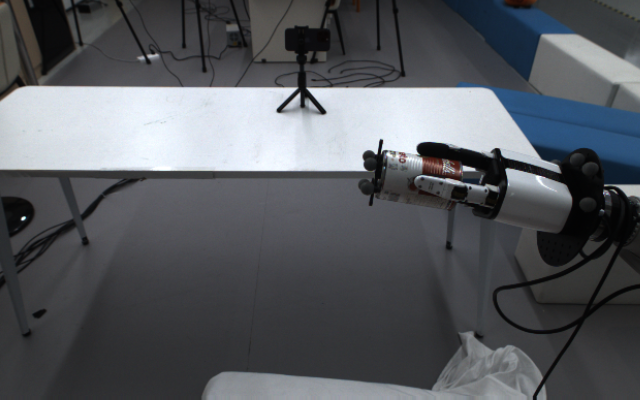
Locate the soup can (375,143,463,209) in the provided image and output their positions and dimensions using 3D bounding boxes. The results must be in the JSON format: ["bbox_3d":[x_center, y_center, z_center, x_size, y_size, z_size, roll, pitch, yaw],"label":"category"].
[{"bbox_3d":[0.131,-0.028,0.644,0.101,0.067,0.067,9,35,0],"label":"soup can"}]
